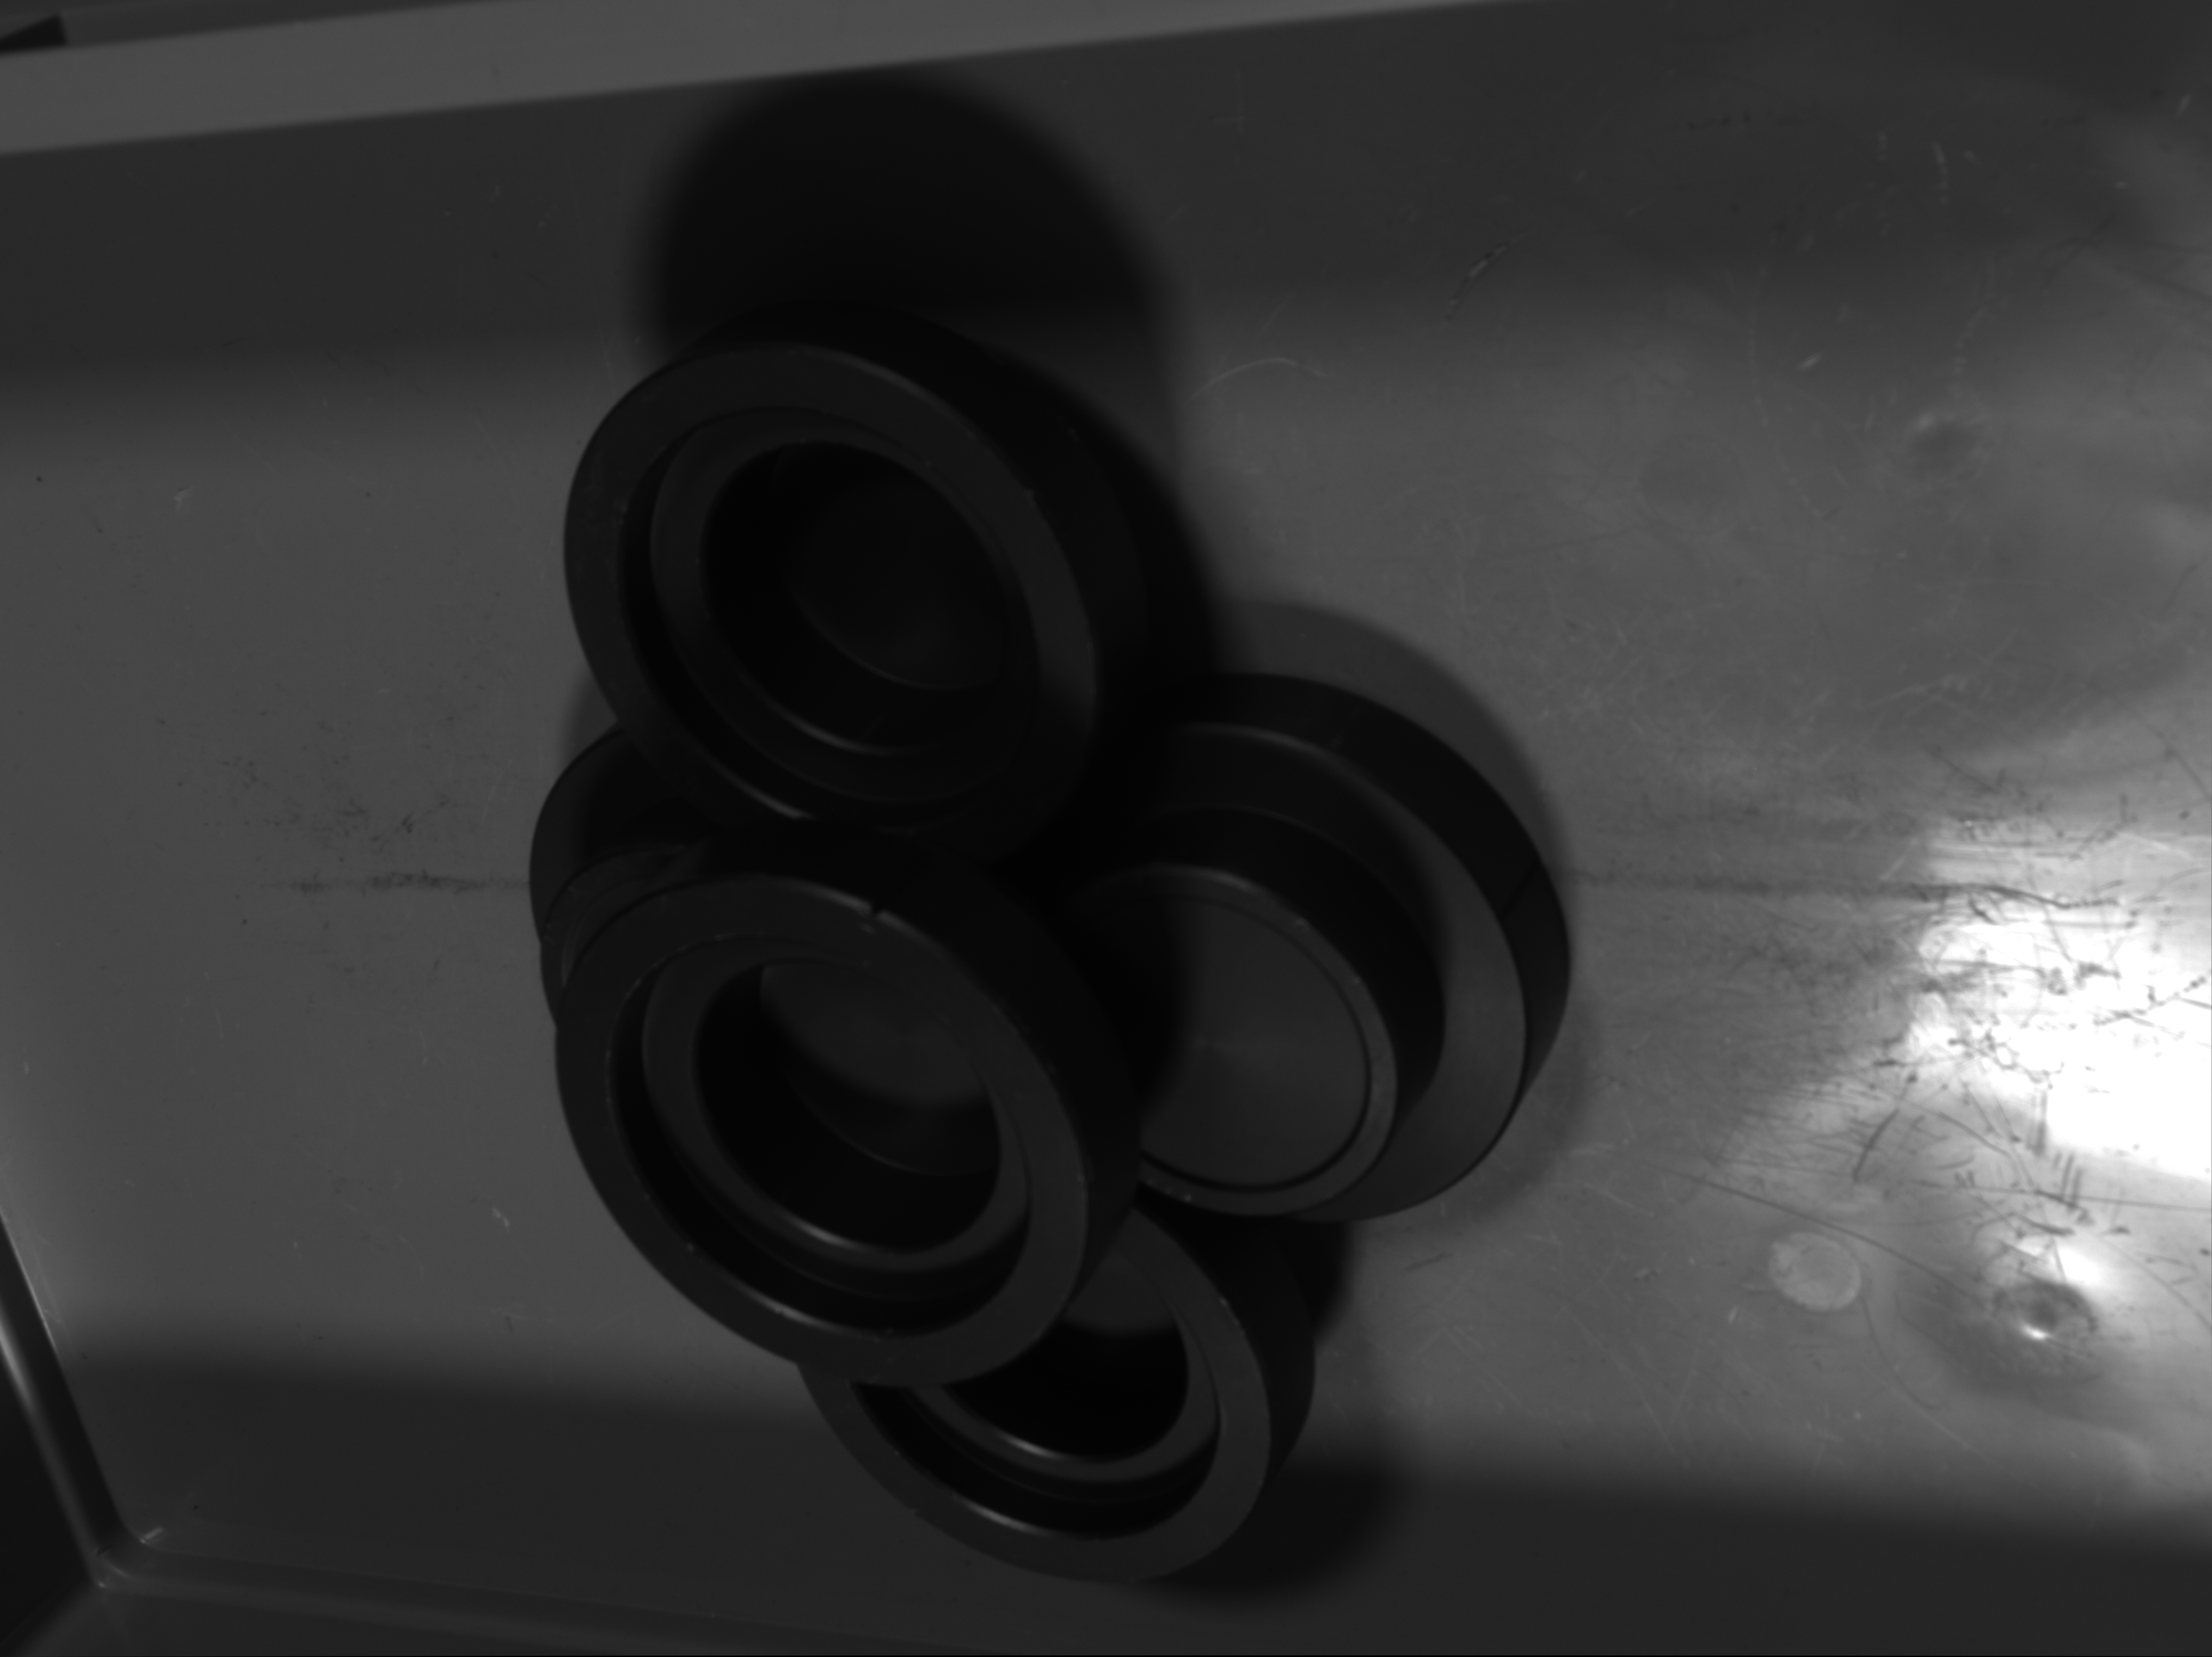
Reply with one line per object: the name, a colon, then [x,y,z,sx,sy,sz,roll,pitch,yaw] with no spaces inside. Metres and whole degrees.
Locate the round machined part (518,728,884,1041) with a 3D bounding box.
round machined part: [-0.065,0.024,0.665,0.098,0.042,0.098,12,123,20]

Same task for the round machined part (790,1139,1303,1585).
round machined part: [-0.009,0.088,0.676,0.098,0.042,0.098,12,123,20]

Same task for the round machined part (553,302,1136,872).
round machined part: [-0.040,-0.042,0.612,0.098,0.042,0.098,12,123,20]

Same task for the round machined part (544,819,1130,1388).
round machined part: [-0.041,0.041,0.610,0.098,0.042,0.098,12,123,20]

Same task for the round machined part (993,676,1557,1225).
round machined part: [0.024,0.027,0.622,0.098,0.042,0.098,12,123,20]
